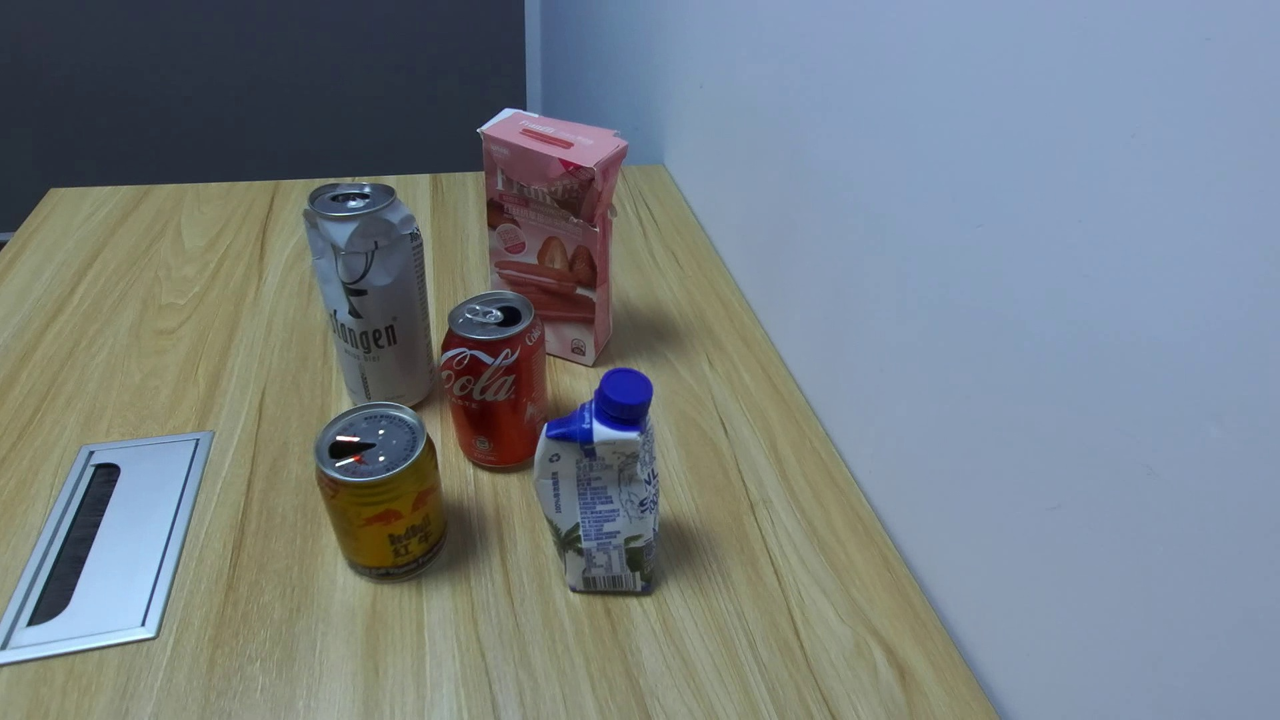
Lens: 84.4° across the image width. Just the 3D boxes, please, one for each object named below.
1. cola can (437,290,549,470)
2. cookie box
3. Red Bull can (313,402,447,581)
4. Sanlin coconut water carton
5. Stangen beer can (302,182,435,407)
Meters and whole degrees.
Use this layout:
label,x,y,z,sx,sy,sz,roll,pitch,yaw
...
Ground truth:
label,x,y,z,sx,sy,sz,roll,pitch,yaw
cola can,-0.096,0.016,0.485,0.065,0.117,0.072,29,45,25
cookie box,-0.068,-0.089,0.553,0.105,0.186,0.059,19,43,14
Red Bull can,-0.151,0.079,0.419,0.067,0.093,0.067,3,40,-3
Sanlin coconut water carton,-0.023,0.067,0.408,0.068,0.145,0.056,-5,33,0
Stangen beer can,-0.187,-0.042,0.501,0.066,0.166,0.065,-27,51,-33
